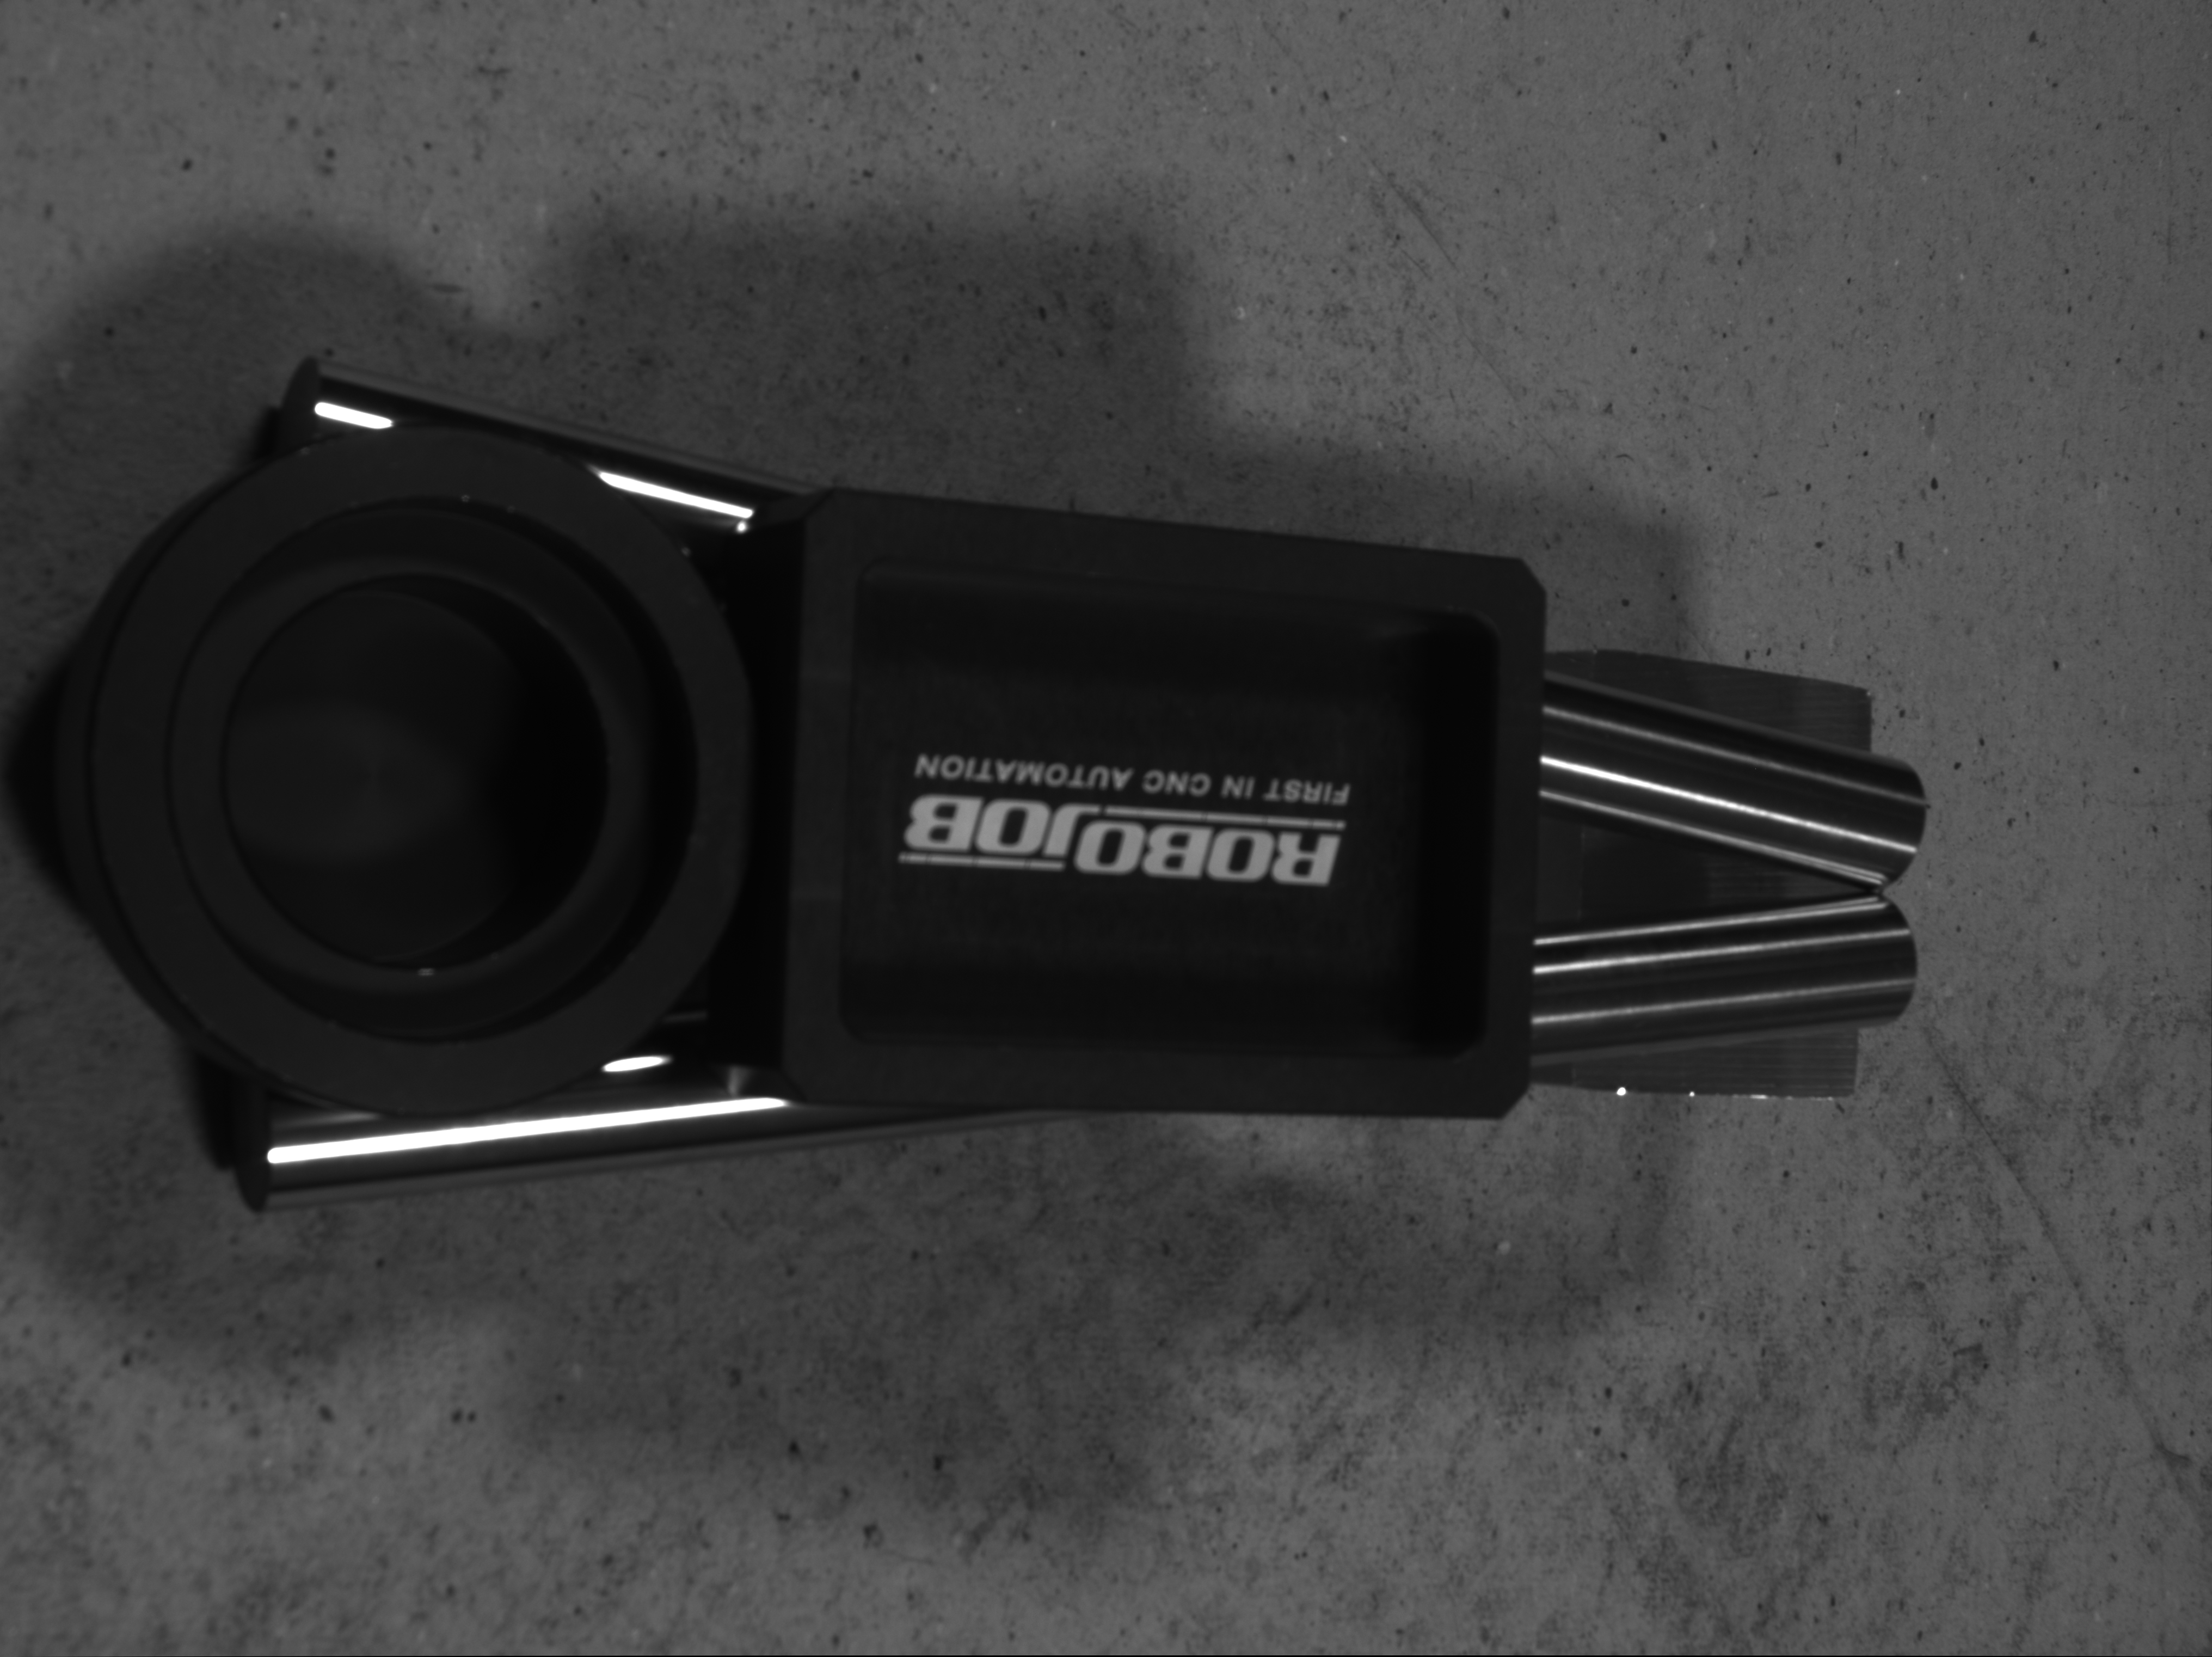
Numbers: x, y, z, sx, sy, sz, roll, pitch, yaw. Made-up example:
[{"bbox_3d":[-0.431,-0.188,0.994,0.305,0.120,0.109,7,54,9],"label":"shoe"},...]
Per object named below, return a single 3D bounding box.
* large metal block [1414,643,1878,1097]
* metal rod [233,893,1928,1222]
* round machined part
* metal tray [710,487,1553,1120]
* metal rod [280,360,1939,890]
[{"bbox_3d":[0.101,0.009,0.704,0.080,0.050,0.080,5,87,-40],"label":"large metal block"},{"bbox_3d":[0.009,0.035,0.603,0.301,0.025,0.025,-4,93,-27],"label":"metal rod"},{"bbox_3d":[-0.103,-0.008,0.534,0.098,0.042,0.098,0,89,-29],"label":"round machined part"},{"bbox_3d":[0.006,-0.001,0.572,0.130,0.030,0.090,3,88,-27],"label":"metal tray"},{"bbox_3d":[0.013,-0.029,0.606,0.301,0.025,0.025,12,82,-26],"label":"metal rod"}]
